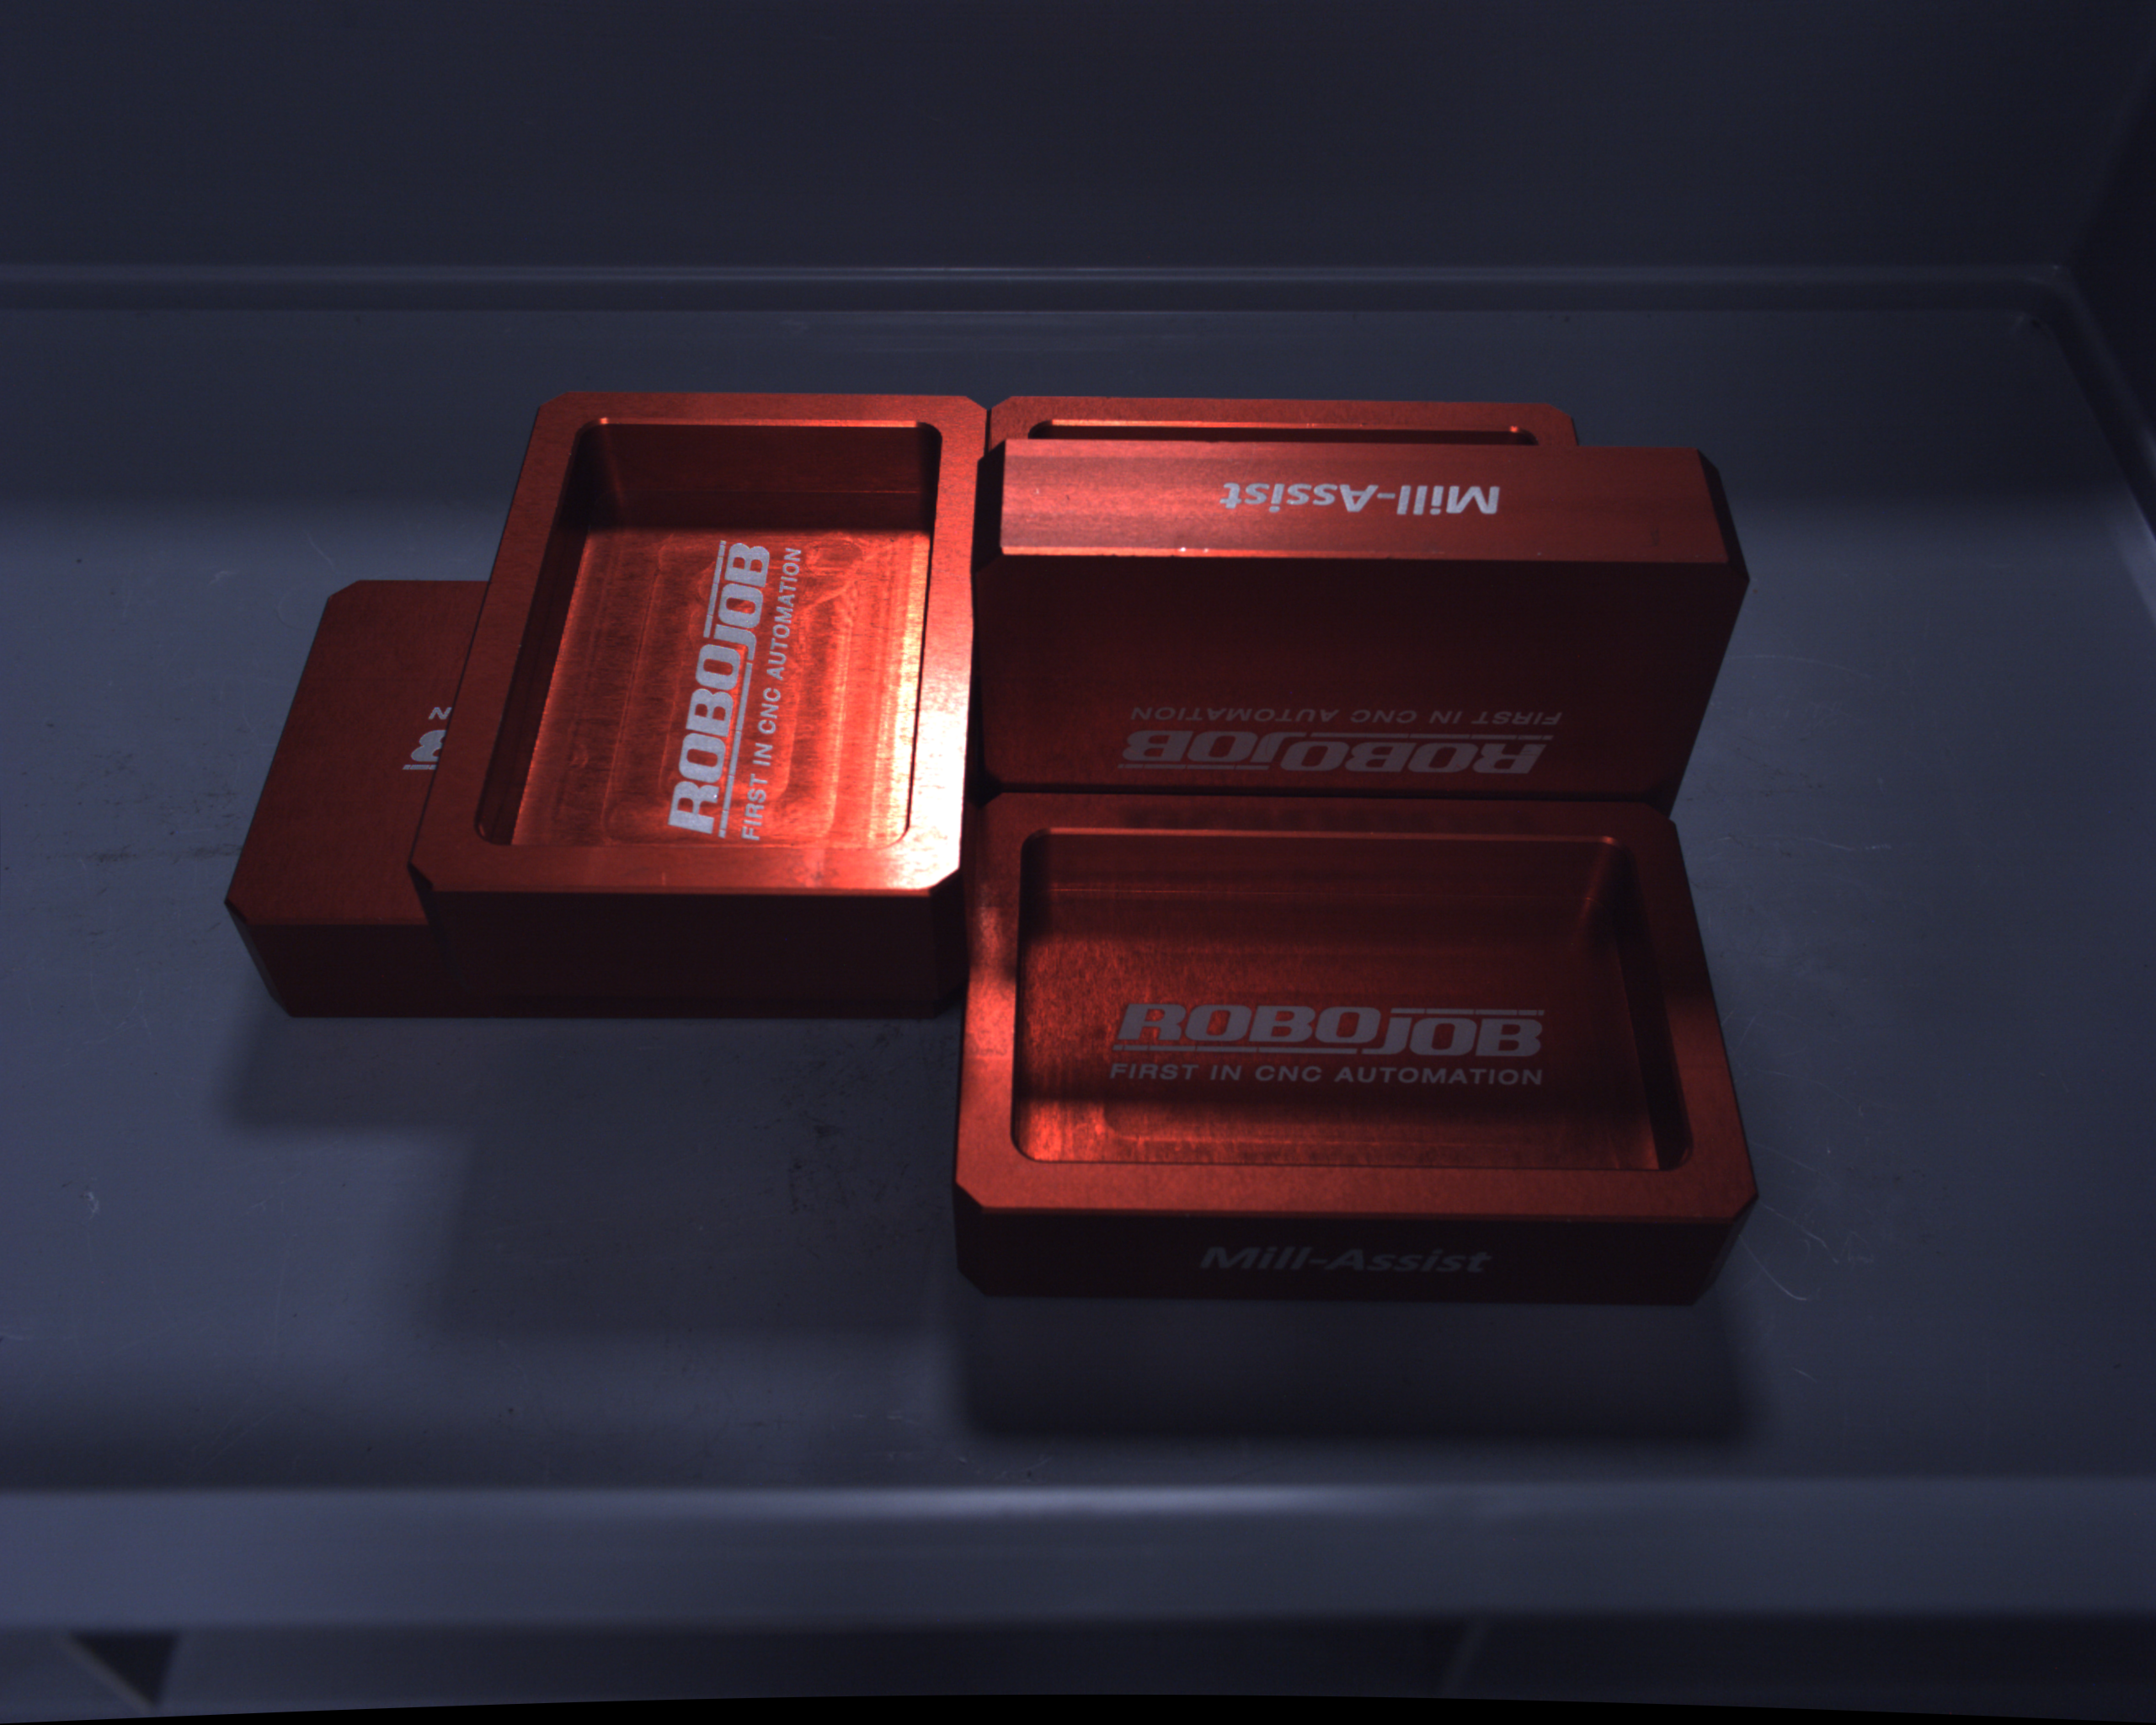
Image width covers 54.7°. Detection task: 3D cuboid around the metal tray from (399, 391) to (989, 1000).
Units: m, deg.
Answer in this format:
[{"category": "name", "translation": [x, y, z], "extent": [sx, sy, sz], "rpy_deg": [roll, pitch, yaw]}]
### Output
[{"category": "metal tray", "translation": [-0.064, -0.036, 0.389], "extent": [0.091, 0.030, 0.130], "rpy_deg": [1, 50, 0]}]

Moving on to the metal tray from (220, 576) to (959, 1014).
[{"category": "metal tray", "translation": [-0.088, -0.015, 0.409], "extent": [0.131, 0.030, 0.090], "rpy_deg": [0, 50, 0]}]

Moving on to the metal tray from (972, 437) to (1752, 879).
[{"category": "metal tray", "translation": [0.048, -0.034, 0.389], "extent": [0.131, 0.089, 0.030], "rpy_deg": [1, 50, 0]}]

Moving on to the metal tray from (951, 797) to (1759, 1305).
[{"category": "metal tray", "translation": [0.045, 0.032, 0.374], "extent": [0.131, 0.030, 0.090], "rpy_deg": [1, 50, 0]}]

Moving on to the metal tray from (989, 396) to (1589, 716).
[{"category": "metal tray", "translation": [0.045, -0.061, 0.452], "extent": [0.131, 0.030, 0.090], "rpy_deg": [1, 50, 0]}]
